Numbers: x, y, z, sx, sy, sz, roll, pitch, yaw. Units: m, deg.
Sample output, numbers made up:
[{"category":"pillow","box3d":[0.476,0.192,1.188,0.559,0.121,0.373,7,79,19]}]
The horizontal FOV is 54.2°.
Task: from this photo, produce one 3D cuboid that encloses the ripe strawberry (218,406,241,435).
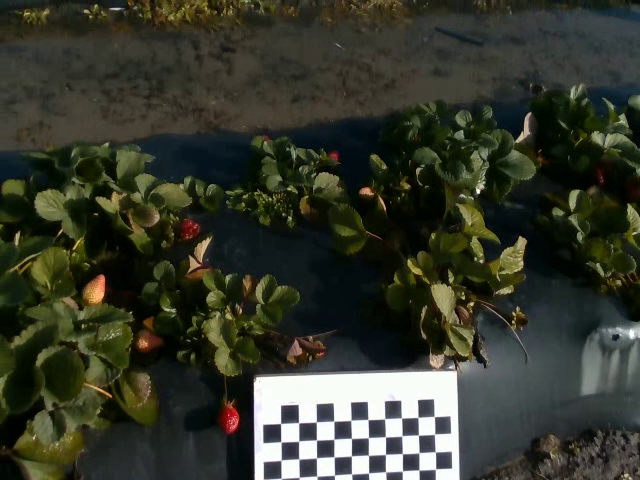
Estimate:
[{"category":"ripe strawberry","box3d":[-0.112,0.213,0.724,0.034,0.033,0.038,-1,38,-9]}]
